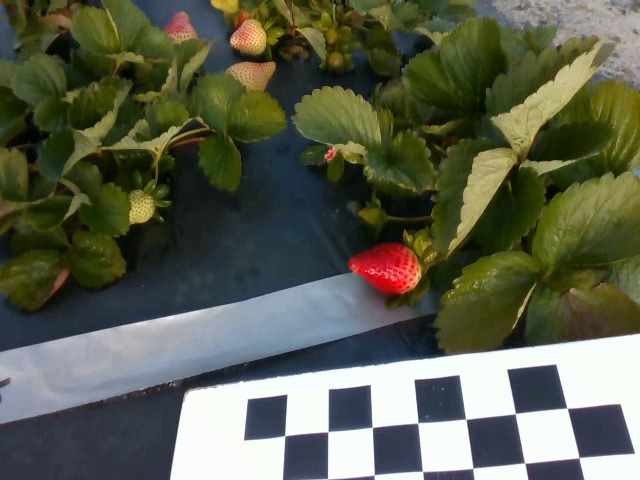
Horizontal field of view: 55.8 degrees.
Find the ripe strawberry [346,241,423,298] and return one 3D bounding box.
[{"bbox_3d":[0.037,0.016,0.356,0.055,0.050,0.036,-4,-34,-6],"label":"ripe strawberry"}]
